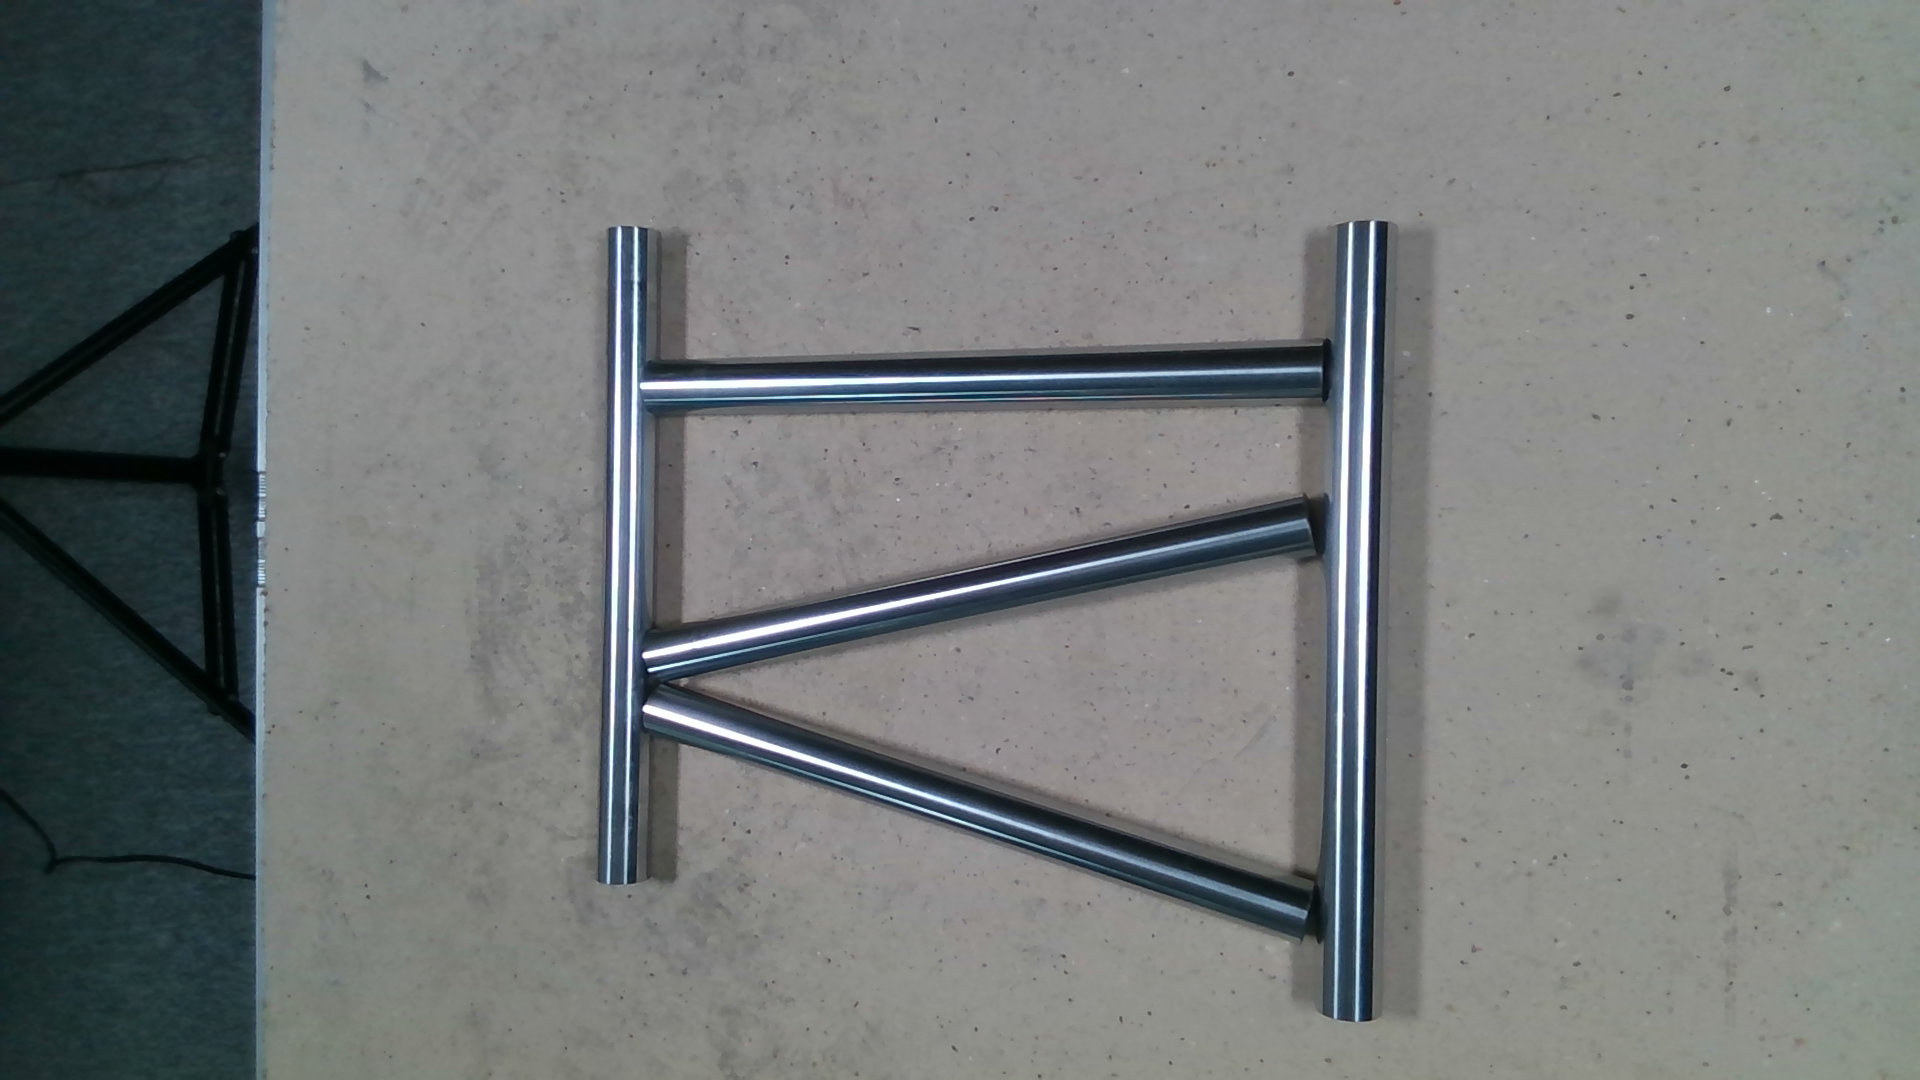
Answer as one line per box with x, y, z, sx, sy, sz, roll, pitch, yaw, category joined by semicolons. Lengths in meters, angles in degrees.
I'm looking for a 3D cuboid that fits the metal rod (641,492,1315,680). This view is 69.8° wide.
-0.002;0.023;0.586;0.300;0.025;0.025;-12;86;20;metal rod

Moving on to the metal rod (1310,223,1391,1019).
0.150;0.031;0.530;0.025;0.025;0.300;1;91;20;metal rod

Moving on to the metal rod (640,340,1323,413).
0.000;-0.068;0.584;0.300;0.025;0.025;1;91;20;metal rod

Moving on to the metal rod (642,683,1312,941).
-0.002;0.111;0.587;0.300;0.025;0.025;14;95;20;metal rod

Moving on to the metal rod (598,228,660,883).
-0.154;0.008;0.642;0.025;0.025;0.300;1;91;20;metal rod
